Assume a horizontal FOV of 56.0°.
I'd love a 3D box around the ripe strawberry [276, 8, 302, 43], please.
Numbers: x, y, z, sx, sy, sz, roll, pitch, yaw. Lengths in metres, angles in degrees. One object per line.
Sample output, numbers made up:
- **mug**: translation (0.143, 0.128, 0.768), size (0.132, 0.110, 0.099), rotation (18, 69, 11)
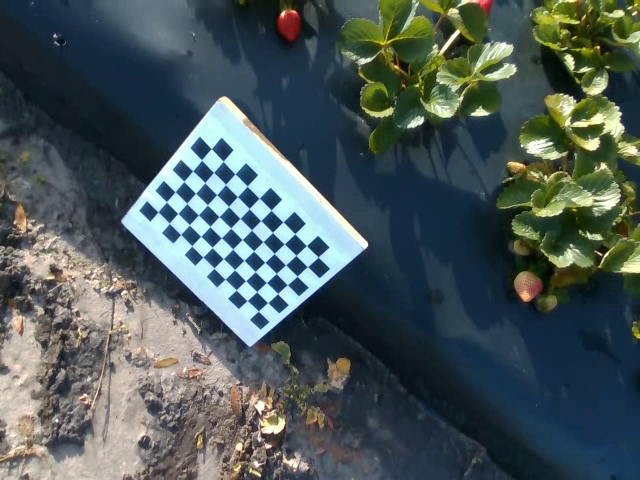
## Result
- **ripe strawberry**: translation (-0.038, -0.262, 0.752), size (0.030, 0.045, 0.033), rotation (-10, -11, 24)
